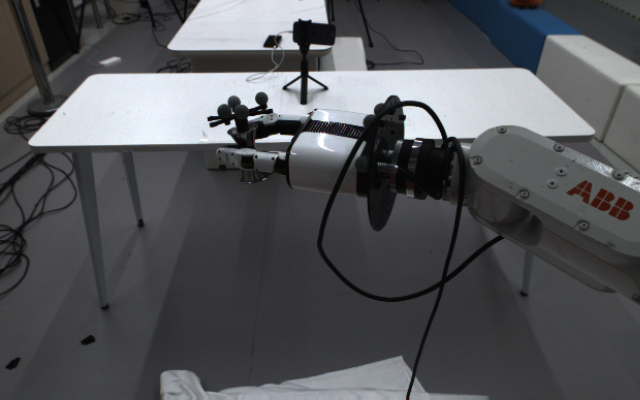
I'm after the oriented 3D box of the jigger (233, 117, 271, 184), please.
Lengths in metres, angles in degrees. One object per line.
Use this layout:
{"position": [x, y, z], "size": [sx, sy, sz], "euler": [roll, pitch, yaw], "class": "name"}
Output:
{"position": [-0.089, -0.062, 0.629], "size": [0.043, 0.071, 0.043], "euler": [-10, 24, 5], "class": "jigger"}
